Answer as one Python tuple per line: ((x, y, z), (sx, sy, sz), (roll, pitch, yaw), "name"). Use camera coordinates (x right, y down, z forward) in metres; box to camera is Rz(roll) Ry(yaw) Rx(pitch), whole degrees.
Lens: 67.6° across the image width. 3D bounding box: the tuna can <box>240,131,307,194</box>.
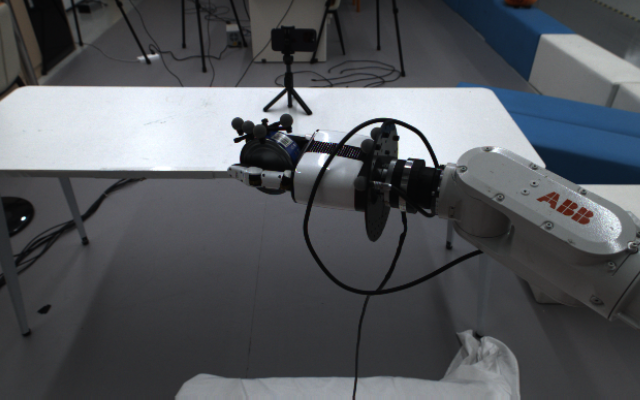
((-0.065, -0.053, 0.671), (0.085, 0.085, 0.034), (17, 36, 20), "tuna can")
